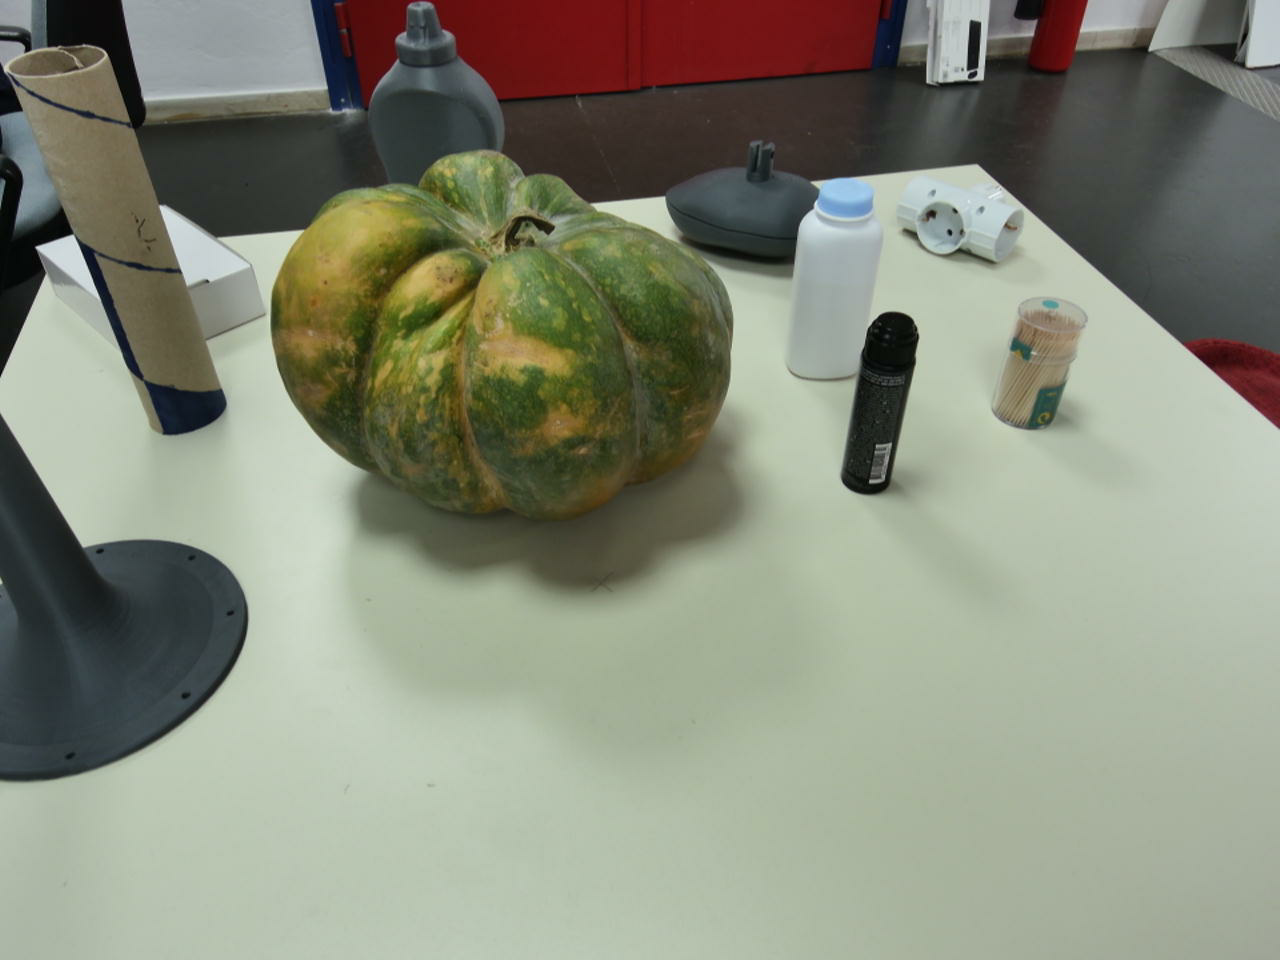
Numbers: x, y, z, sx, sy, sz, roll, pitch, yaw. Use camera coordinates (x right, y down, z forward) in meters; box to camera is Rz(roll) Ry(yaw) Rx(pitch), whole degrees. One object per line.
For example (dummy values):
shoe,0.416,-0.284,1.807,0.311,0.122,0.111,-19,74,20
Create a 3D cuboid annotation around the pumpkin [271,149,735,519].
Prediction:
pumpkin,-0.074,-0.088,0.572,0.270,0.173,0.237,17,42,19
